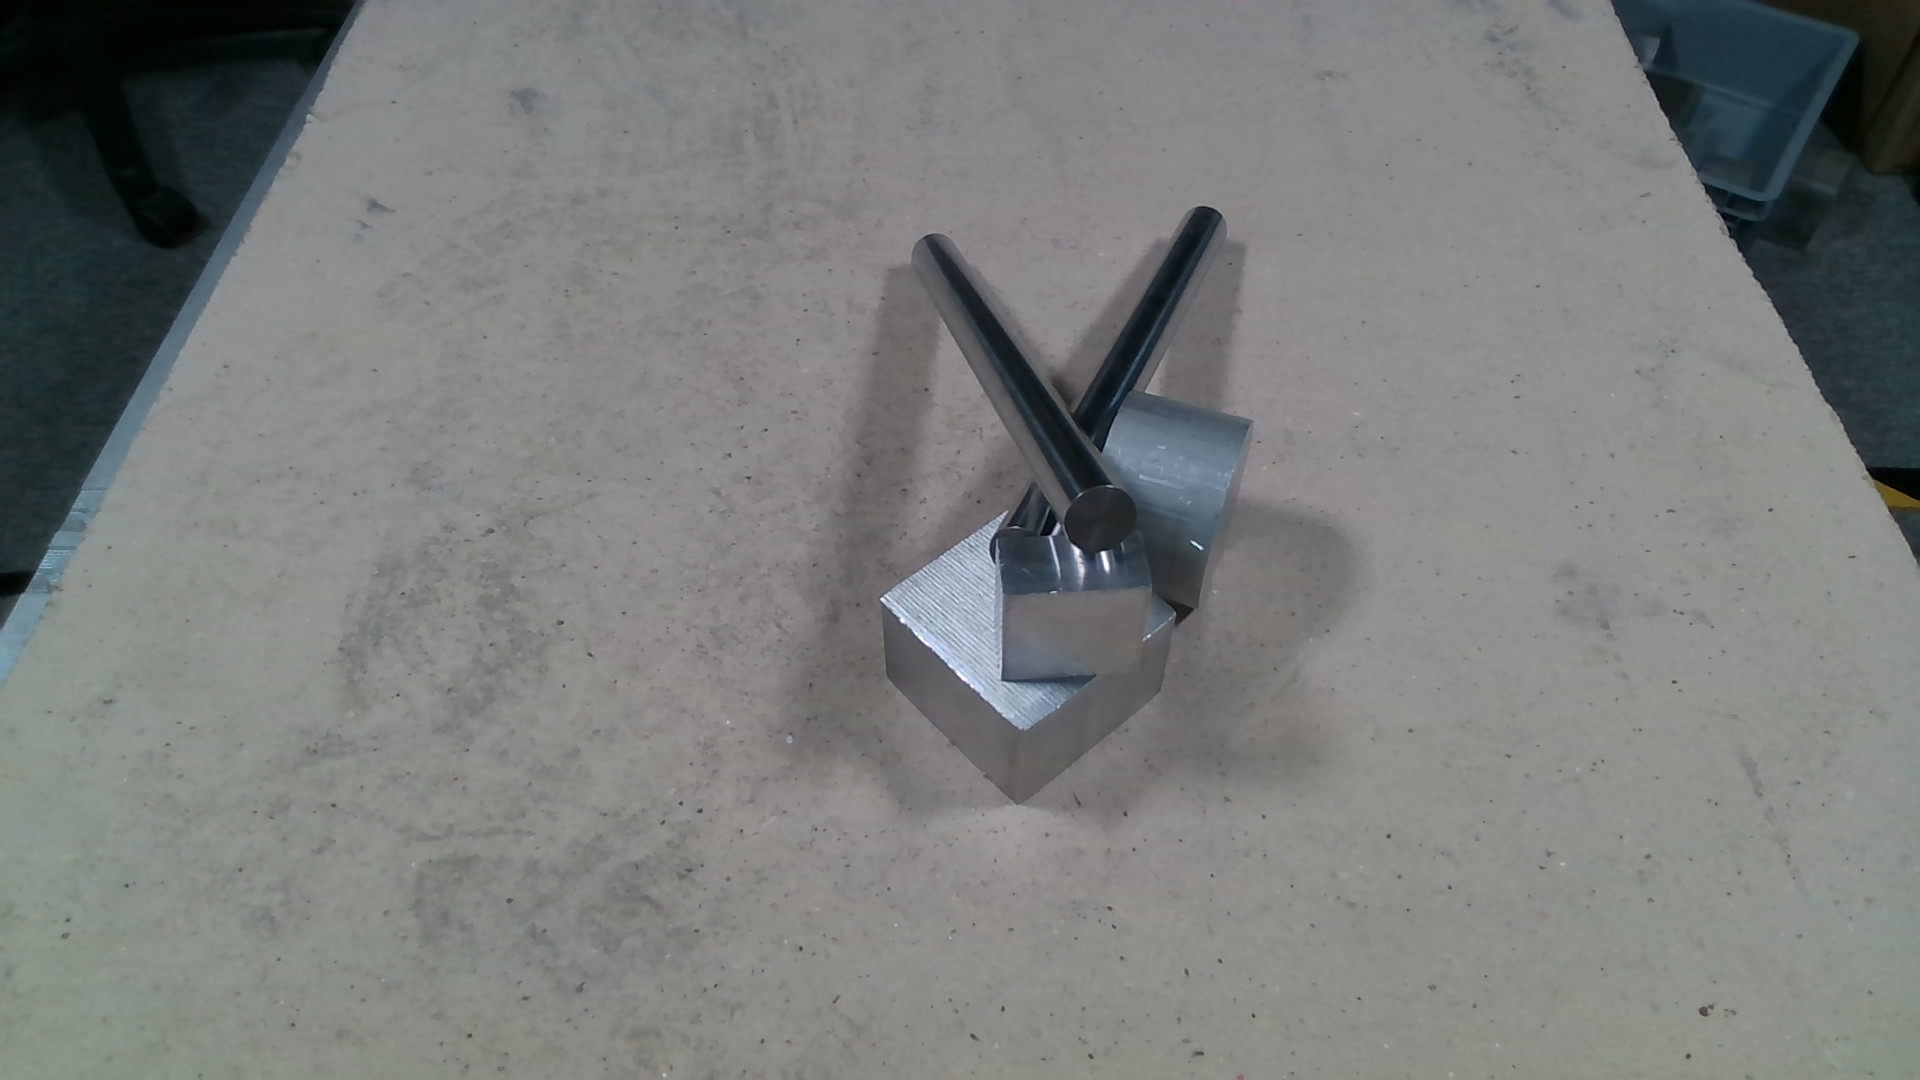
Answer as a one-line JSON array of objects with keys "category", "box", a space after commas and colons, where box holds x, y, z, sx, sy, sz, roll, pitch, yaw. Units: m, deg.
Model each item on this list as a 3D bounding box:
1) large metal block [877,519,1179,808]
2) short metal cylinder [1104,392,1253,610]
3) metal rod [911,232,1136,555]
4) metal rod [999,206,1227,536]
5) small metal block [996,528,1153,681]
[{"category": "large metal block", "box": [0.025, 0.042, 0.534, 0.080, 0.050, 0.080, -34, 57, -26]}, {"category": "short metal cylinder", "box": [0.085, -0.016, 0.566, 0.050, 0.080, 0.080, 16, 52, 13]}, {"category": "metal rod", "box": [0.016, -0.076, 0.581, 0.025, 0.025, 0.299, -9, 30, -8]}, {"category": "metal rod", "box": [0.077, -0.079, 0.616, 0.025, 0.025, 0.299, 16, 40, 13]}, {"category": "small metal block", "box": [0.038, 0.023, 0.482, 0.050, 0.050, 0.025, -3, 50, -3]}]
